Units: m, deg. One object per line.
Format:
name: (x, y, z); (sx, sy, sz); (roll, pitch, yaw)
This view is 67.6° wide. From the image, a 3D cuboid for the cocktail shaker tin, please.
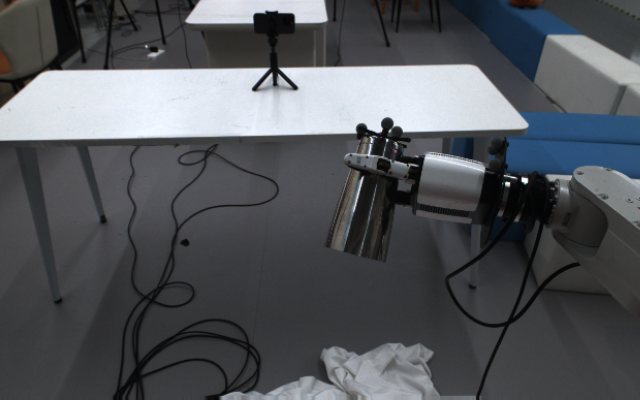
cocktail shaker tin: (0.072, -0.004, 0.711); (0.093, 0.170, 0.093); (15, -5, 1)
